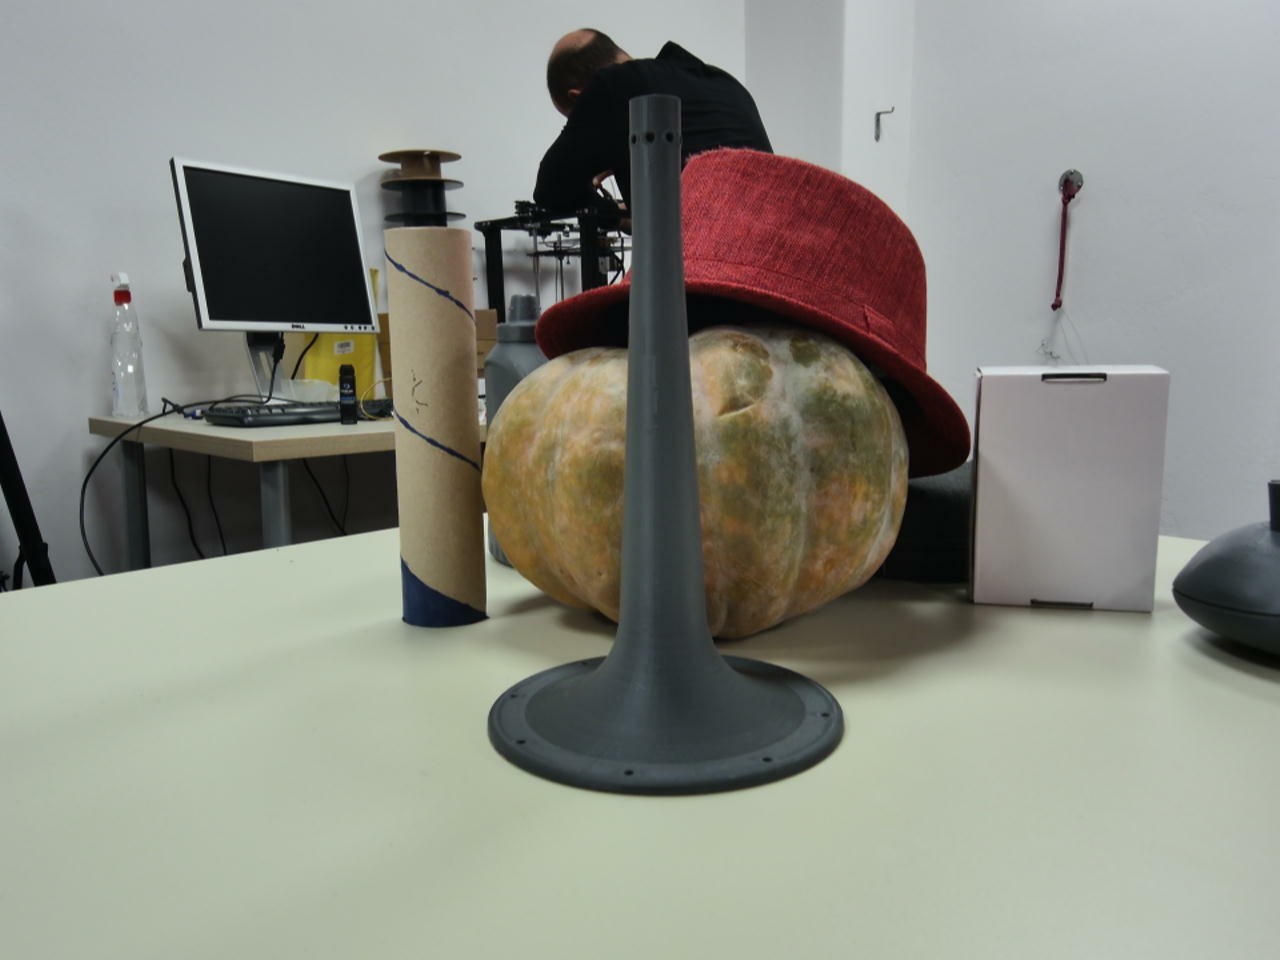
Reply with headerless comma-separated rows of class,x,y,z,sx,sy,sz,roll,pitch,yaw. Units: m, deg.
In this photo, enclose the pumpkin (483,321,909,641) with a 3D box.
pumpkin,0.033,-0.004,0.580,0.252,0.168,0.252,0,6,0
